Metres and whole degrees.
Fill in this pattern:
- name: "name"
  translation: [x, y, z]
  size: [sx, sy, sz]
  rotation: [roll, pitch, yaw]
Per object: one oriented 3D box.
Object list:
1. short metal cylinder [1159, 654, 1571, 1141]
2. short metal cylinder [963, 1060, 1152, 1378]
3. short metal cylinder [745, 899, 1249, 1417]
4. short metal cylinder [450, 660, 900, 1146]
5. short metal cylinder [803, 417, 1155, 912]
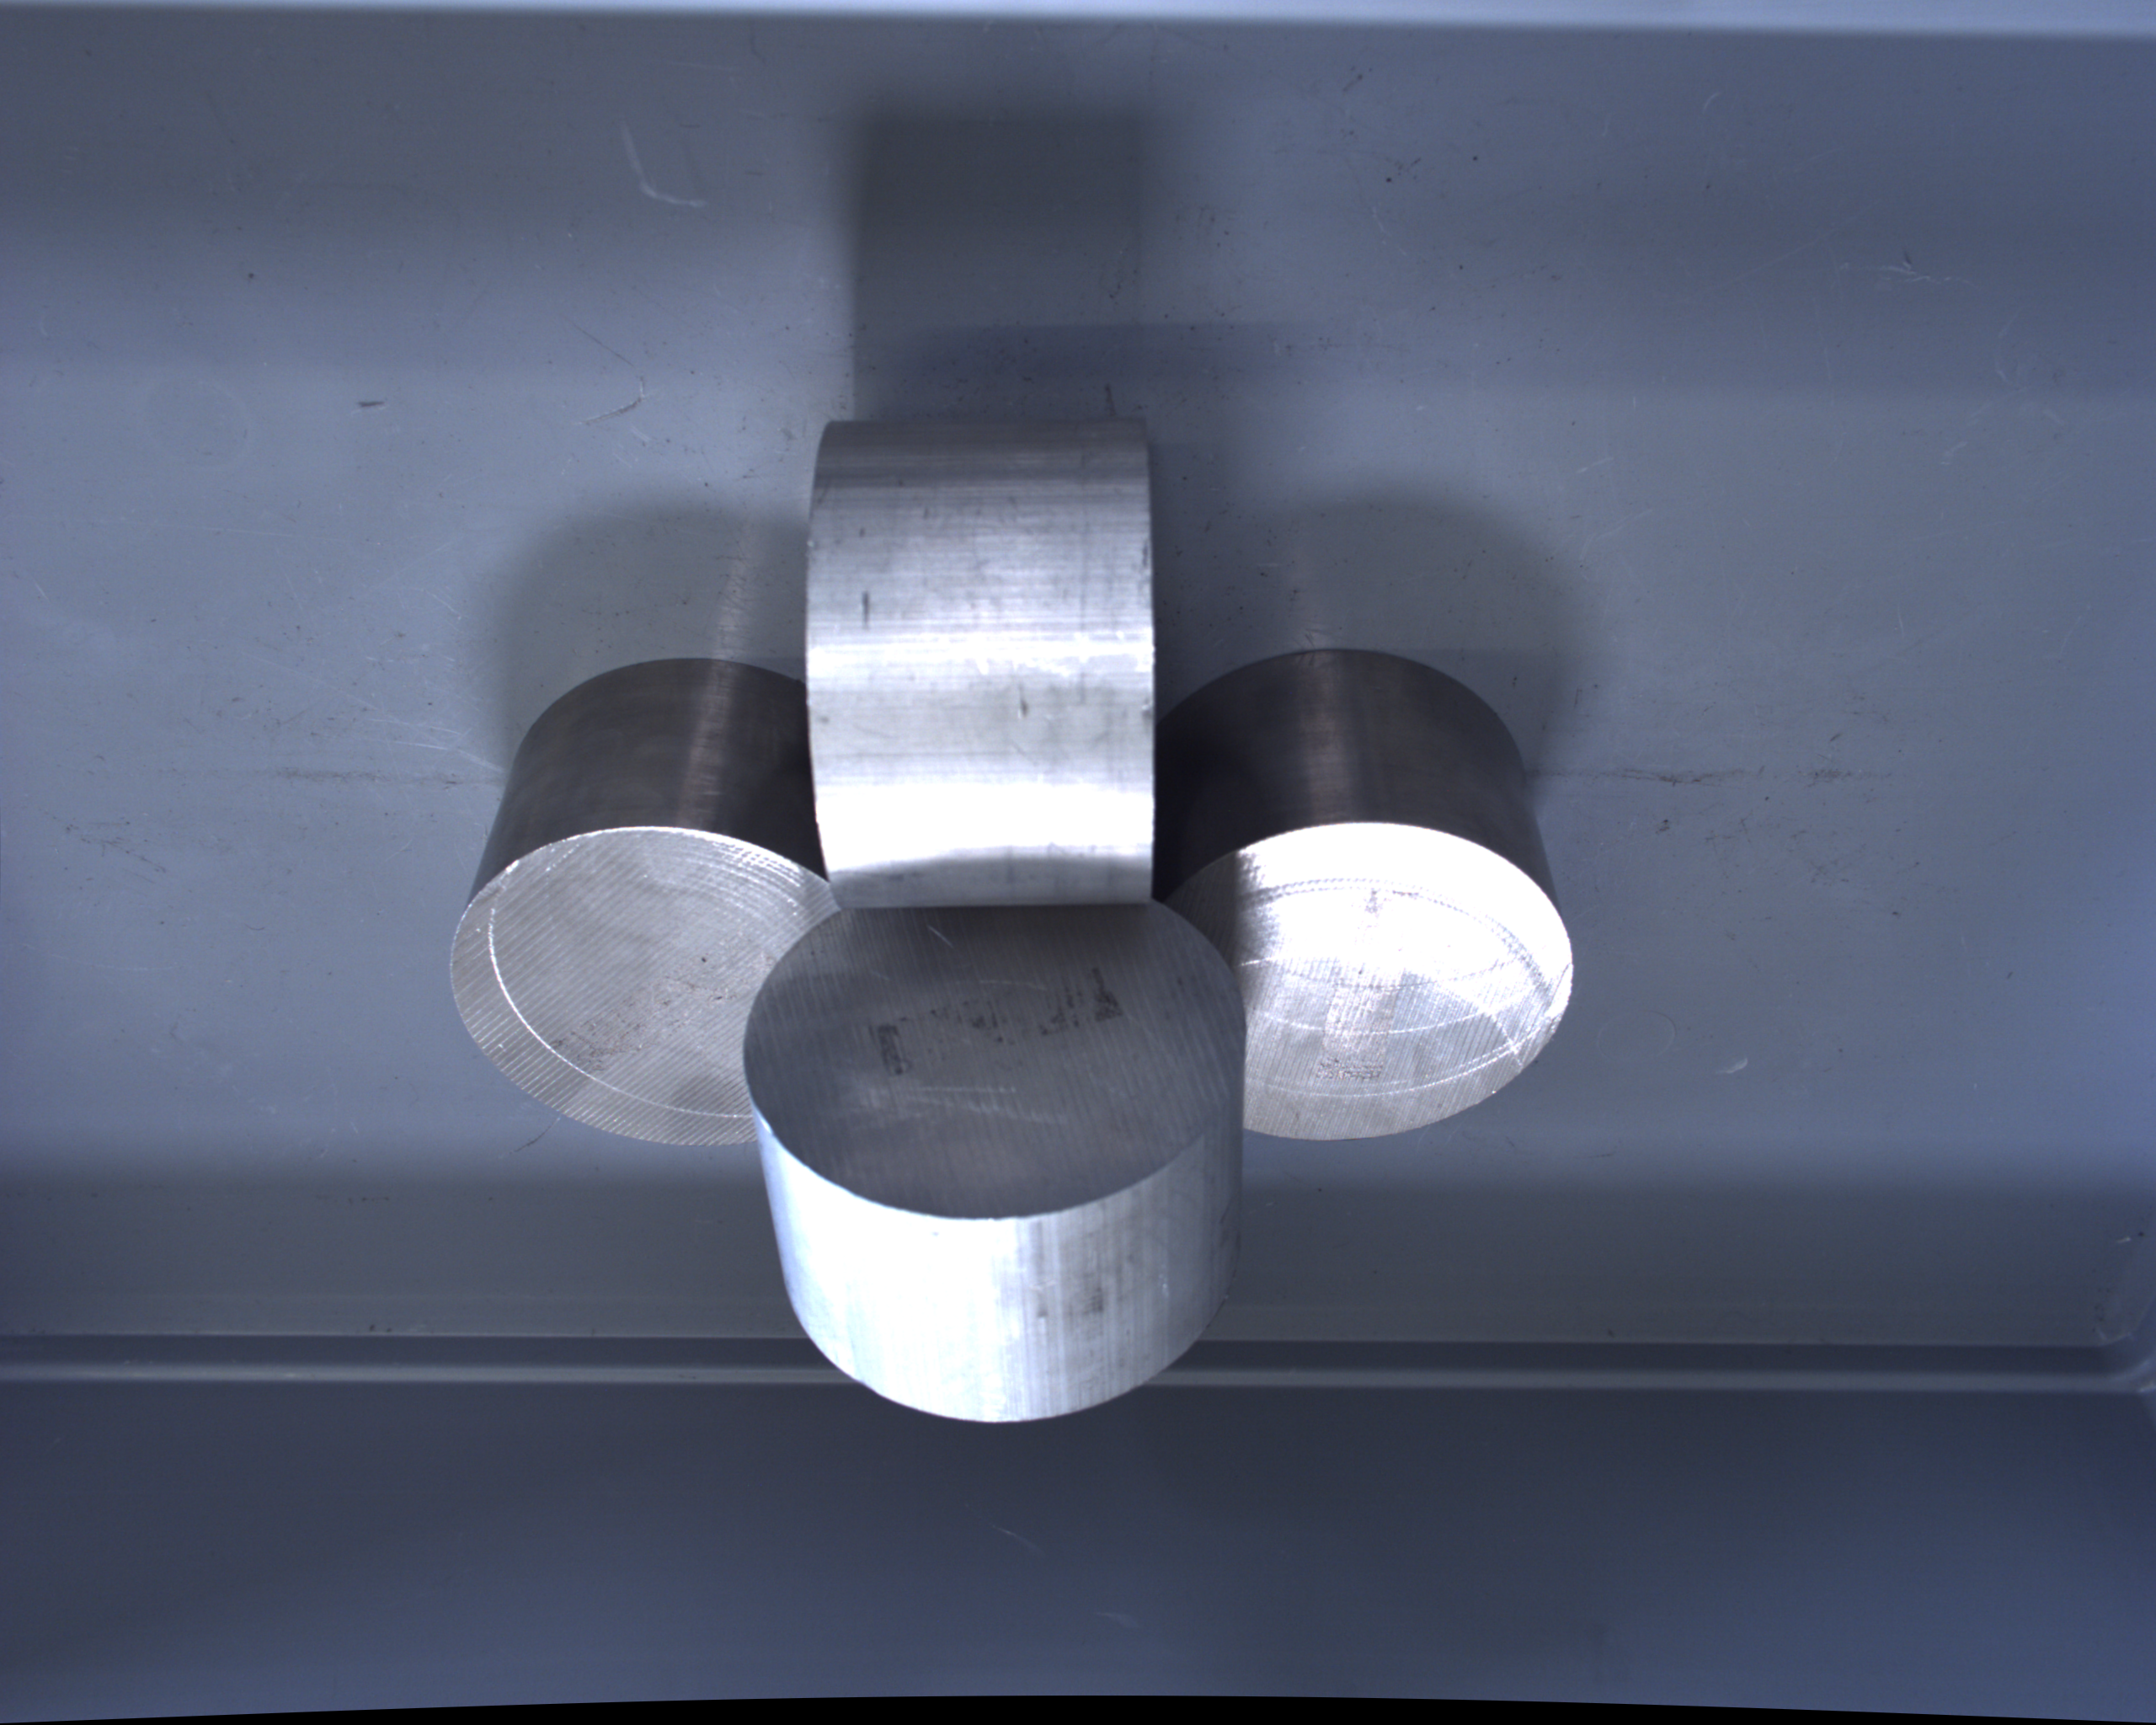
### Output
- name: "short metal cylinder"
  translation: [0.049, 0.007, 0.396]
  size: [0.081, 0.050, 0.079]
  rotation: [0, 130, 0]
- name: "short metal cylinder"
  translation: [-0.012, 0.066, 0.426]
  size: [0.050, 0.080, 0.079]
  rotation: [-2, 130, 1]
- name: "short metal cylinder"
  translation: [-0.012, 0.045, 0.350]
  size: [0.080, 0.080, 0.050]
  rotation: [-1, 130, 0]
- name: "short metal cylinder"
  translation: [-0.073, 0.008, 0.397]
  size: [0.081, 0.050, 0.079]
  rotation: [0, 130, 0]
- name: "short metal cylinder"
  translation: [-0.014, -0.032, 0.342]
  size: [0.050, 0.080, 0.079]
  rotation: [-2, 130, 1]
